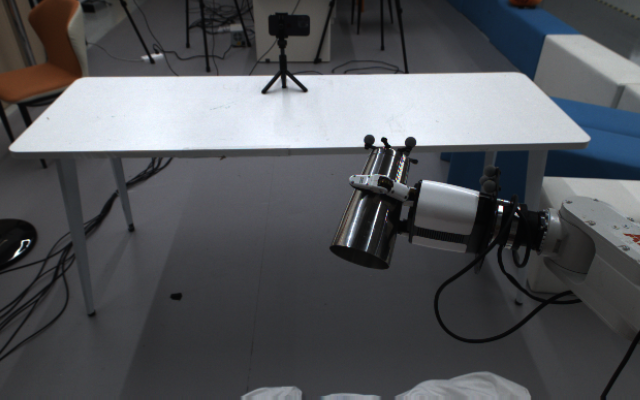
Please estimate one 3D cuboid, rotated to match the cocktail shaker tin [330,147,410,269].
[{"bbox_3d":[0.083,0.009,0.736,0.093,0.093,0.170,13,70,16],"label":"cocktail shaker tin"}]
